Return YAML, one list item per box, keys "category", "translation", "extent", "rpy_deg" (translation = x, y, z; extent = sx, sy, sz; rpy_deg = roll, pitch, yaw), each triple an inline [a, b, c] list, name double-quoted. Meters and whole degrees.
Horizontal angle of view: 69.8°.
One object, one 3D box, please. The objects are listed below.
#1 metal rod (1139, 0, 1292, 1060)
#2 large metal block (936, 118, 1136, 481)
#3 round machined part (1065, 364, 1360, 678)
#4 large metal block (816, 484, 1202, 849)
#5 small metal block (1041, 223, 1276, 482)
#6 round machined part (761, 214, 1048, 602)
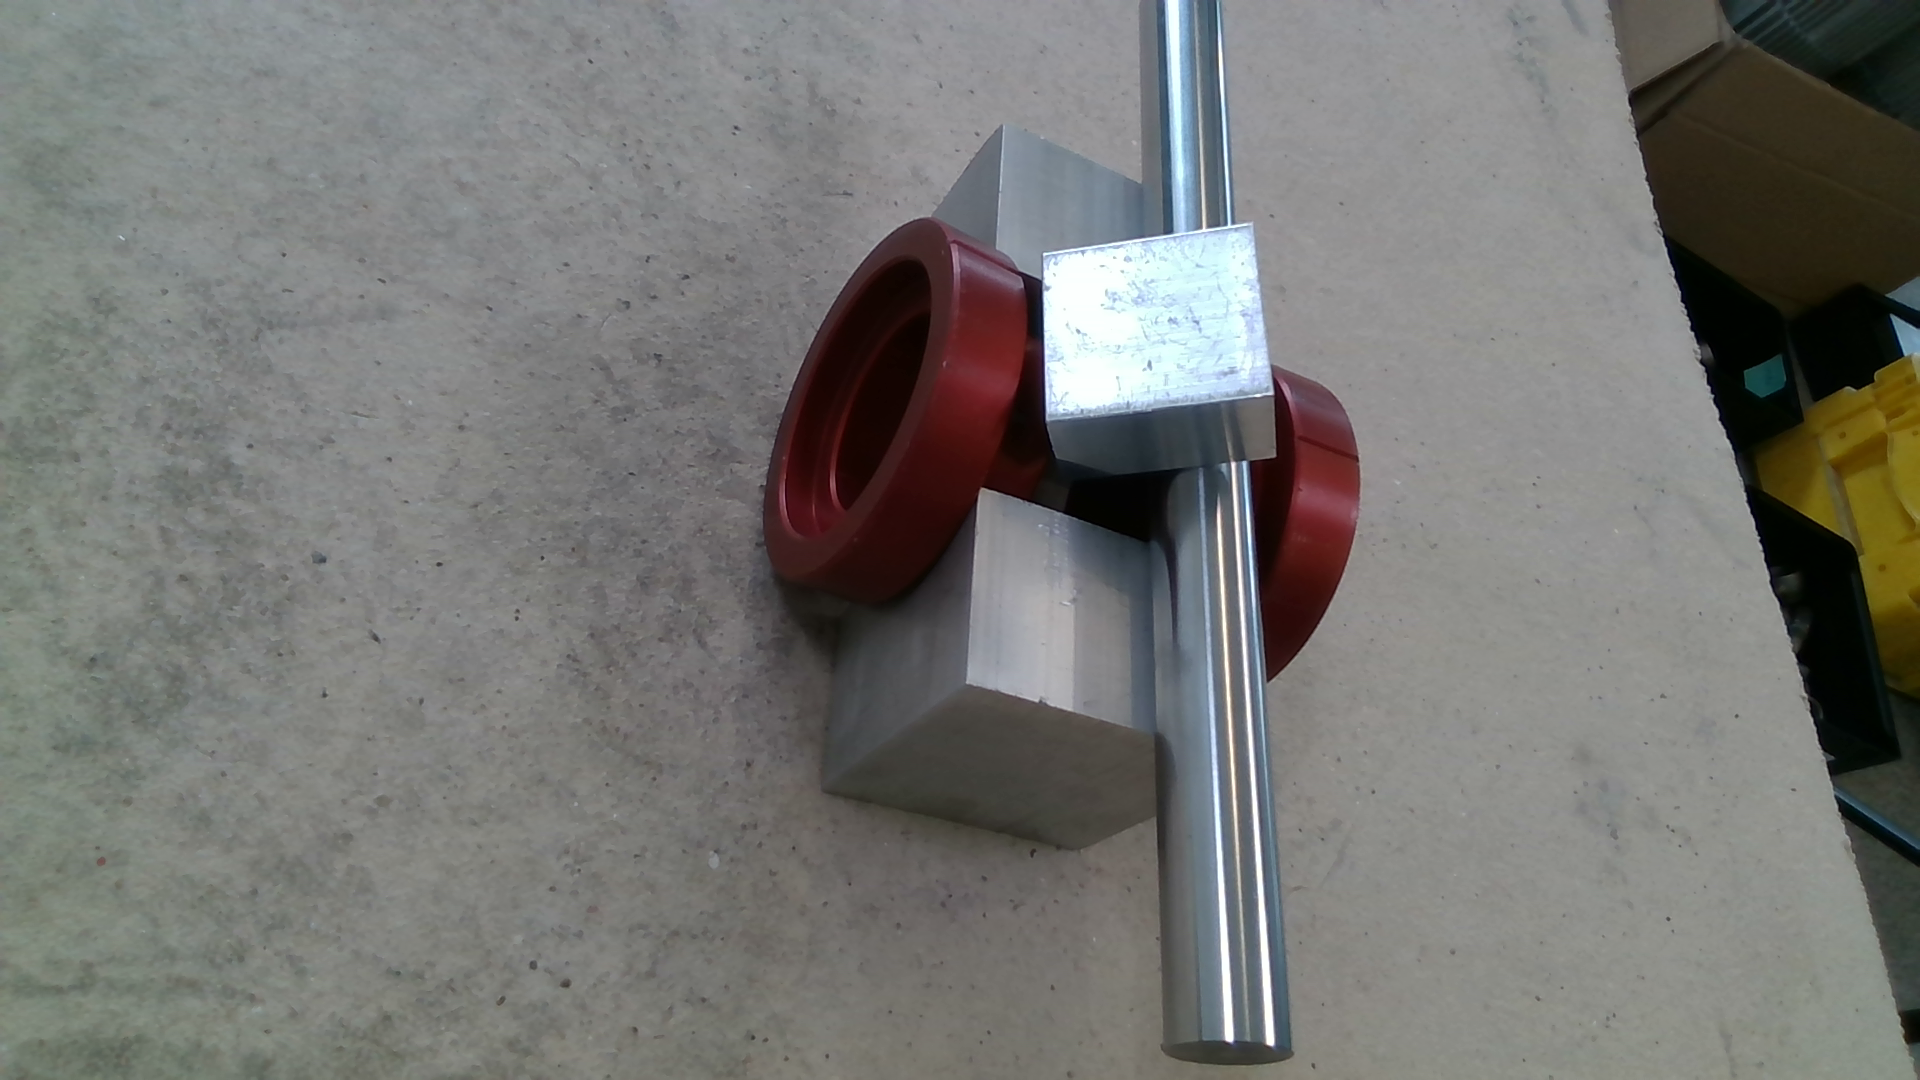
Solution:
- category: "metal rod"
  translation: [0.059, -0.030, 0.343]
  extent: [0.025, 0.025, 0.299]
  rpy_deg: [17, 57, -23]
- category: "large metal block"
  translation: [0.026, -0.065, 0.409]
  extent: [0.080, 0.080, 0.050]
  rpy_deg: [18, 57, -23]
- category: "round machined part"
  translation: [0.063, -0.006, 0.389]
  extent: [0.042, 0.098, 0.098]
  rpy_deg: [17, 57, -22]
- category: "large metal block"
  translation: [0.019, 0.037, 0.350]
  extent: [0.080, 0.080, 0.050]
  rpy_deg: [18, 57, -23]
- category: "small metal block"
  translation: [0.046, -0.044, 0.325]
  extent: [0.050, 0.025, 0.050]
  rpy_deg: [-6, 59, 11]
- category: "round machined part"
  translation: [-0.010, -0.030, 0.356]
  extent: [0.042, 0.098, 0.098]
  rpy_deg: [22, 56, -27]
